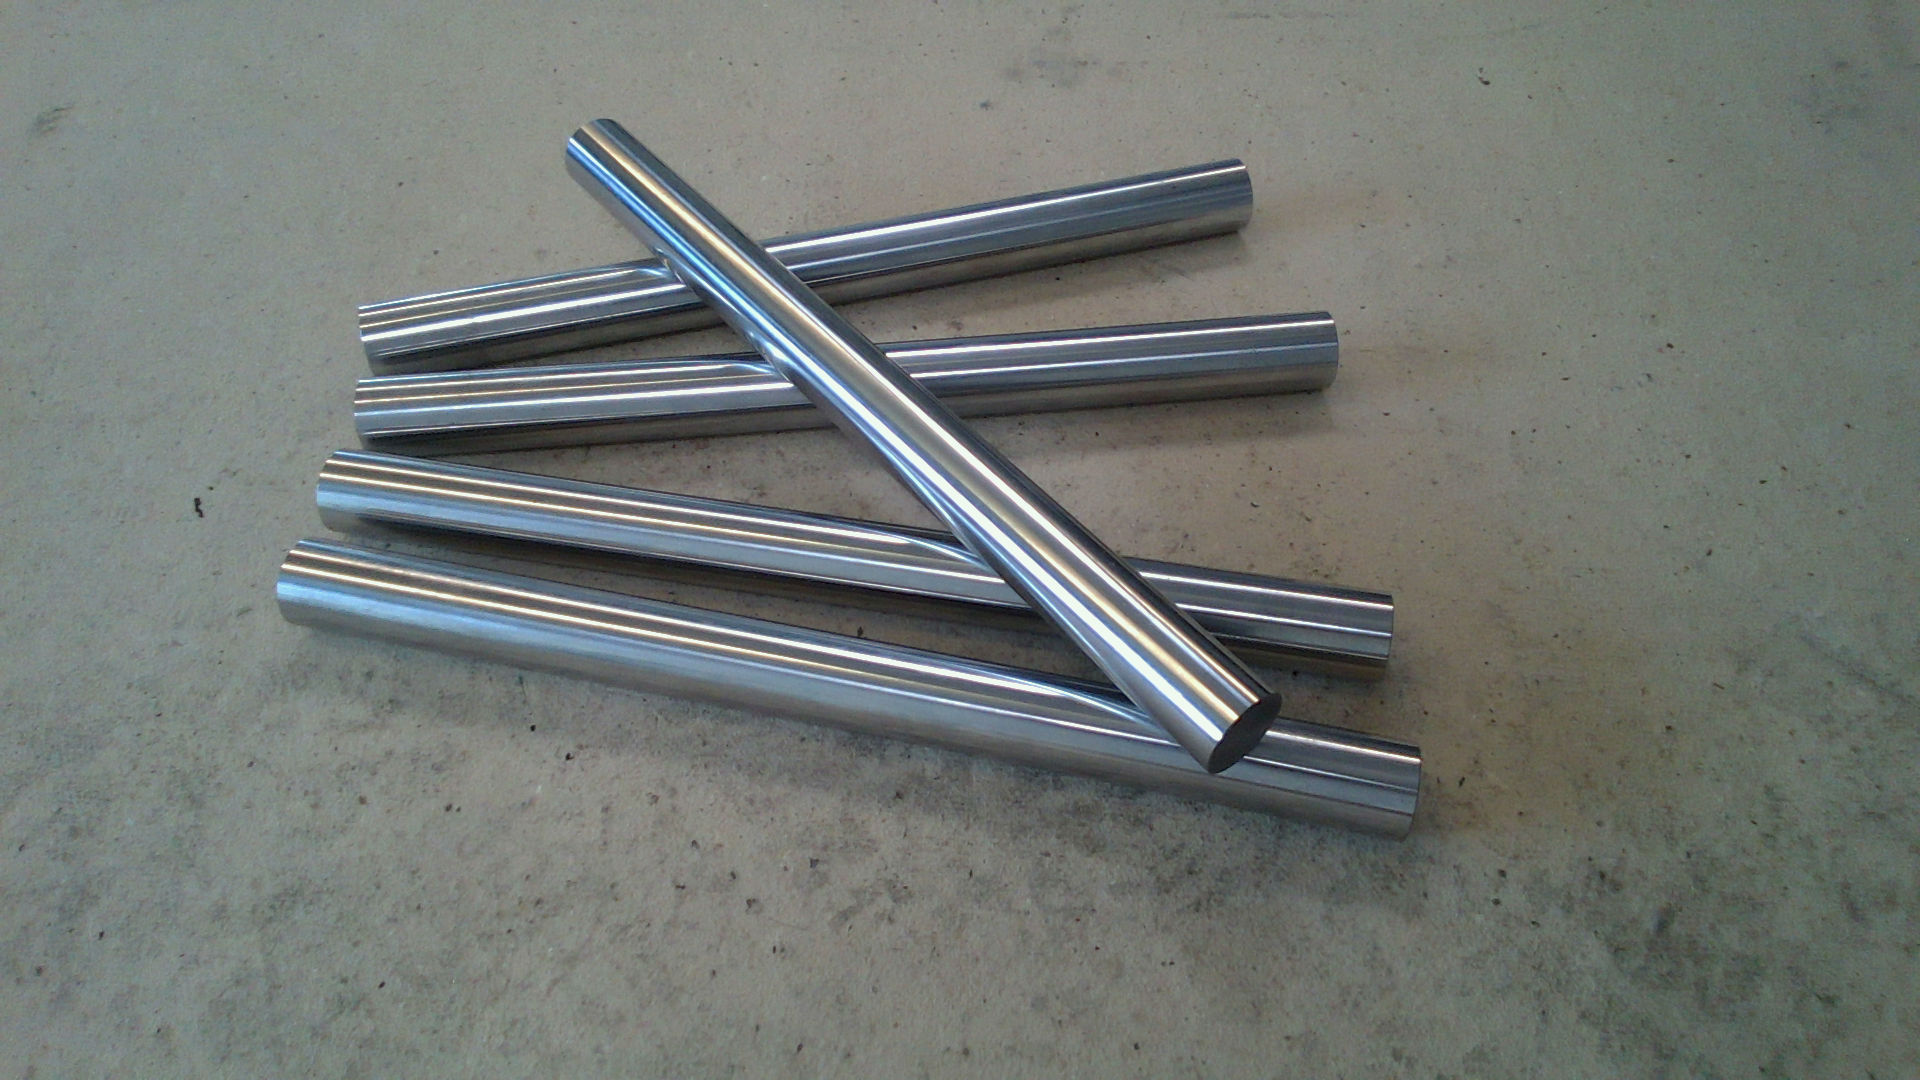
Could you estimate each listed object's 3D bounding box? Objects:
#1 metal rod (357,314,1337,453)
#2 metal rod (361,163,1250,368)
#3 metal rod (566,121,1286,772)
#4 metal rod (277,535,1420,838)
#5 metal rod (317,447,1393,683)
[{"bbox_3d":[-0.032,-0.049,0.434,0.300,0.025,0.025,-4,50,-4],"label":"metal rod"},{"bbox_3d":[-0.045,-0.094,0.472,0.300,0.025,0.025,-12,51,-10],"label":"metal rod"},{"bbox_3d":[-0.028,-0.043,0.395,0.025,0.025,0.299,-32,57,-24],"label":"metal rod"},{"bbox_3d":[-0.035,0.036,0.361,0.300,0.025,0.025,10,51,8],"label":"metal rod"},{"bbox_3d":[-0.034,0.005,0.387,0.300,0.025,0.025,8,50,6],"label":"metal rod"}]
